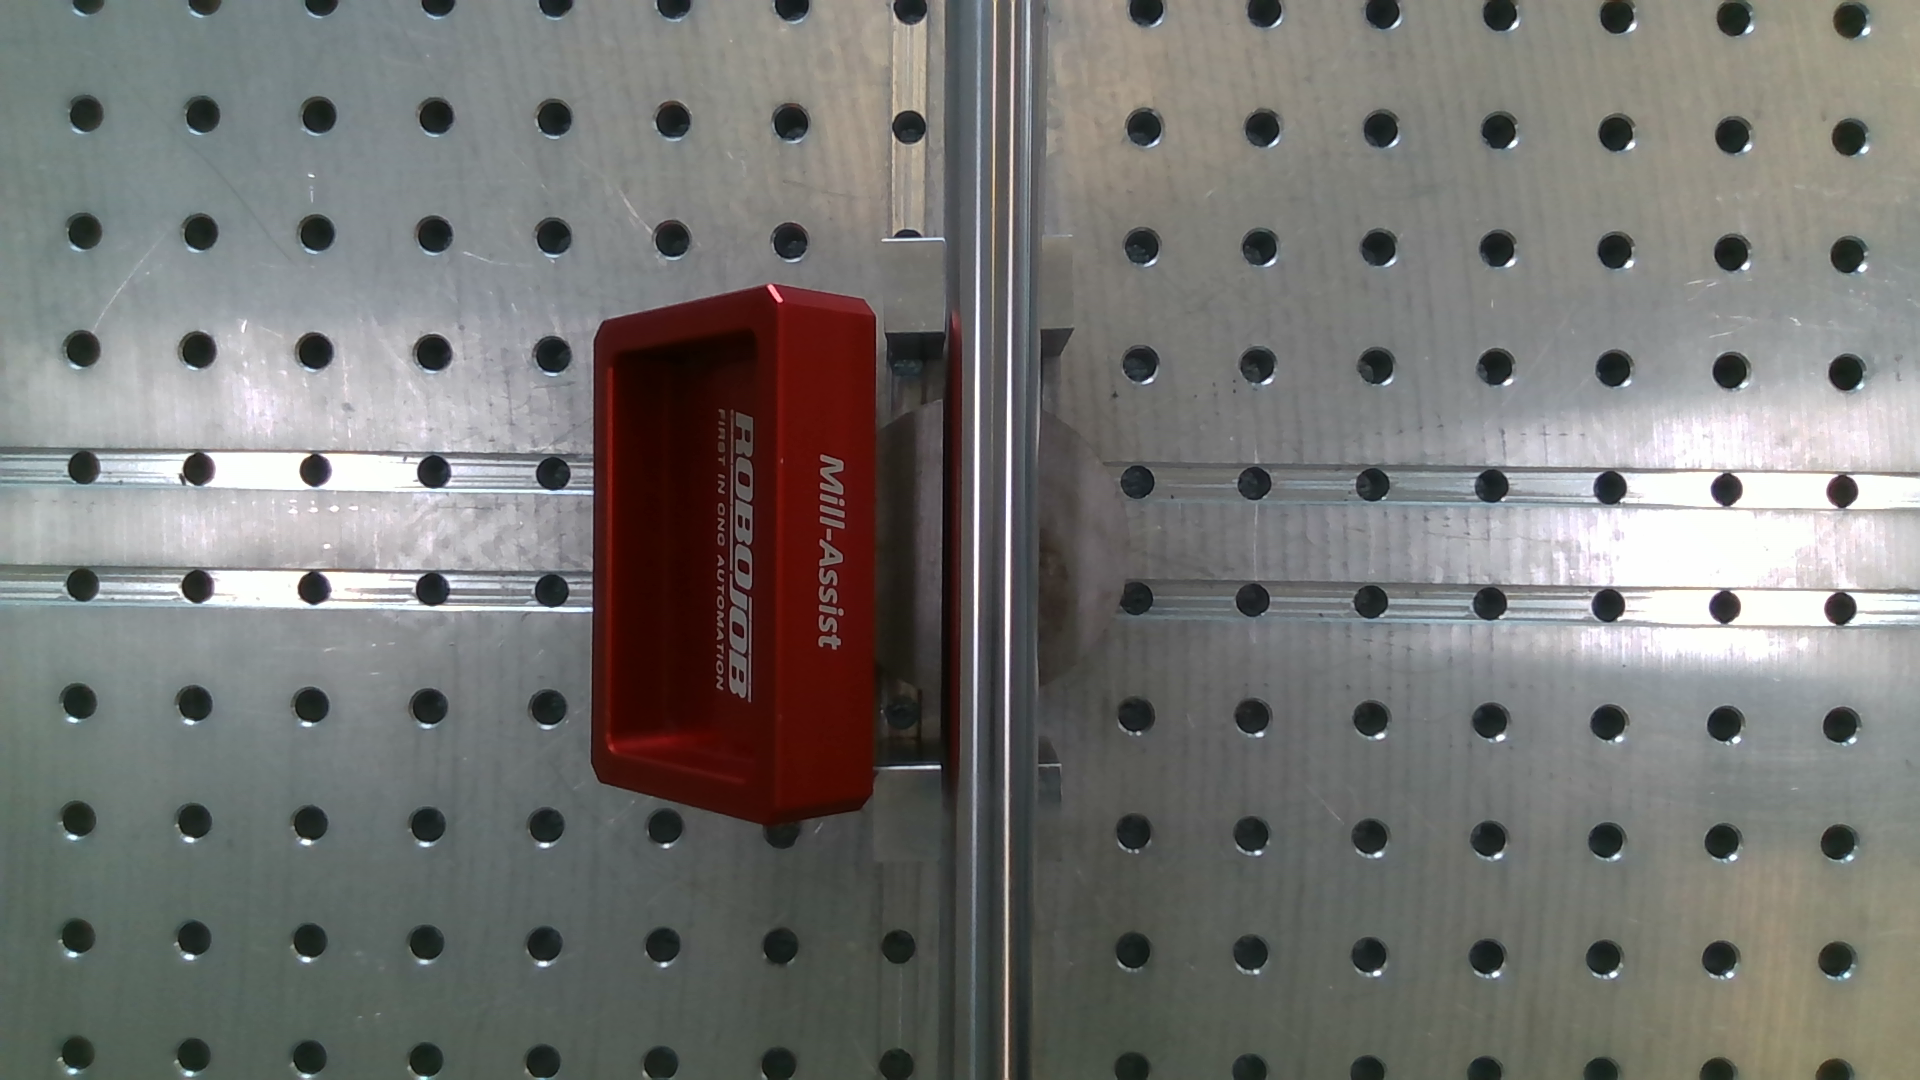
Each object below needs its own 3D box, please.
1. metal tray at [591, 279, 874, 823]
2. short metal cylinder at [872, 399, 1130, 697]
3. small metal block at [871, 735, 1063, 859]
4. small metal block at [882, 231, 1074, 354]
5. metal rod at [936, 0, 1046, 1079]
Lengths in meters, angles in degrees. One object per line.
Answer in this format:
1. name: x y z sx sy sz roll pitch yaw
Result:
1. metal tray: -0.063 0.003 0.368 0.030 0.090 0.130 0 90 -43
2. short metal cylinder: 0.005 0.001 0.385 0.080 0.050 0.080 0 90 0
3. small metal block: 0.002 0.071 0.386 0.050 0.050 0.025 -1 90 0
4. small metal block: 0.005 -0.068 0.385 0.050 0.050 0.025 -1 90 0
5. metal rod: 0.008 -0.009 0.348 0.025 0.025 0.300 1 90 0
